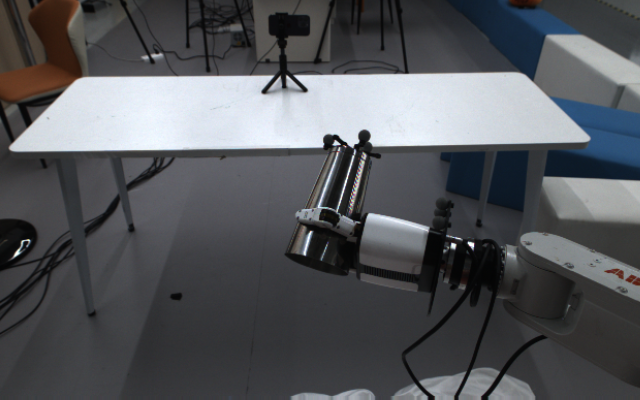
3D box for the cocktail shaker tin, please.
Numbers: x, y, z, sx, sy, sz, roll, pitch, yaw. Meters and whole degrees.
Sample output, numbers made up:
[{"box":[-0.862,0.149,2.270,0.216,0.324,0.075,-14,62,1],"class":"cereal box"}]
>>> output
[{"box":[0.018,0.012,0.689,0.093,0.093,0.170,14,73,16],"class":"cocktail shaker tin"}]
